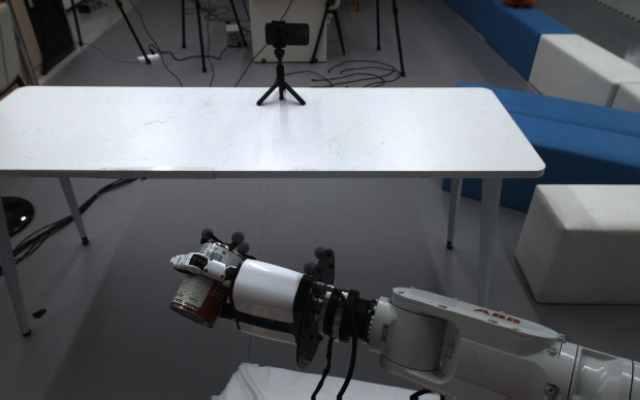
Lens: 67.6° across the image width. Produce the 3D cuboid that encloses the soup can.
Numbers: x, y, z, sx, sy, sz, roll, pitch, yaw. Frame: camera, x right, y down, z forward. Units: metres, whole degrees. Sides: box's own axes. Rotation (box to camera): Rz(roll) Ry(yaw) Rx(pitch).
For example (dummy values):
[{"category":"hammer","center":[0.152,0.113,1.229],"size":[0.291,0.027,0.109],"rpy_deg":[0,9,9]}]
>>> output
[{"category":"soup can","center":[-0.153,0.117,0.669],"size":[0.067,0.067,0.101],"rpy_deg":[15,63,18]}]
